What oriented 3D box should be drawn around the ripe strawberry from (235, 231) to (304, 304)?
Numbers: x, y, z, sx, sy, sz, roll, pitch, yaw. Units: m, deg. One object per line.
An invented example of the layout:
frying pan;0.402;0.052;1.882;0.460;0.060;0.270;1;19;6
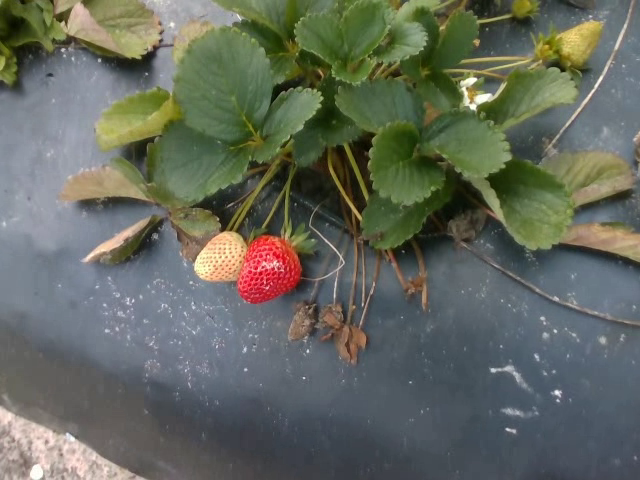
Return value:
ripe strawberry;-0.029;0.016;0.305;0.041;0.034;0.033;-40;-3;-31
